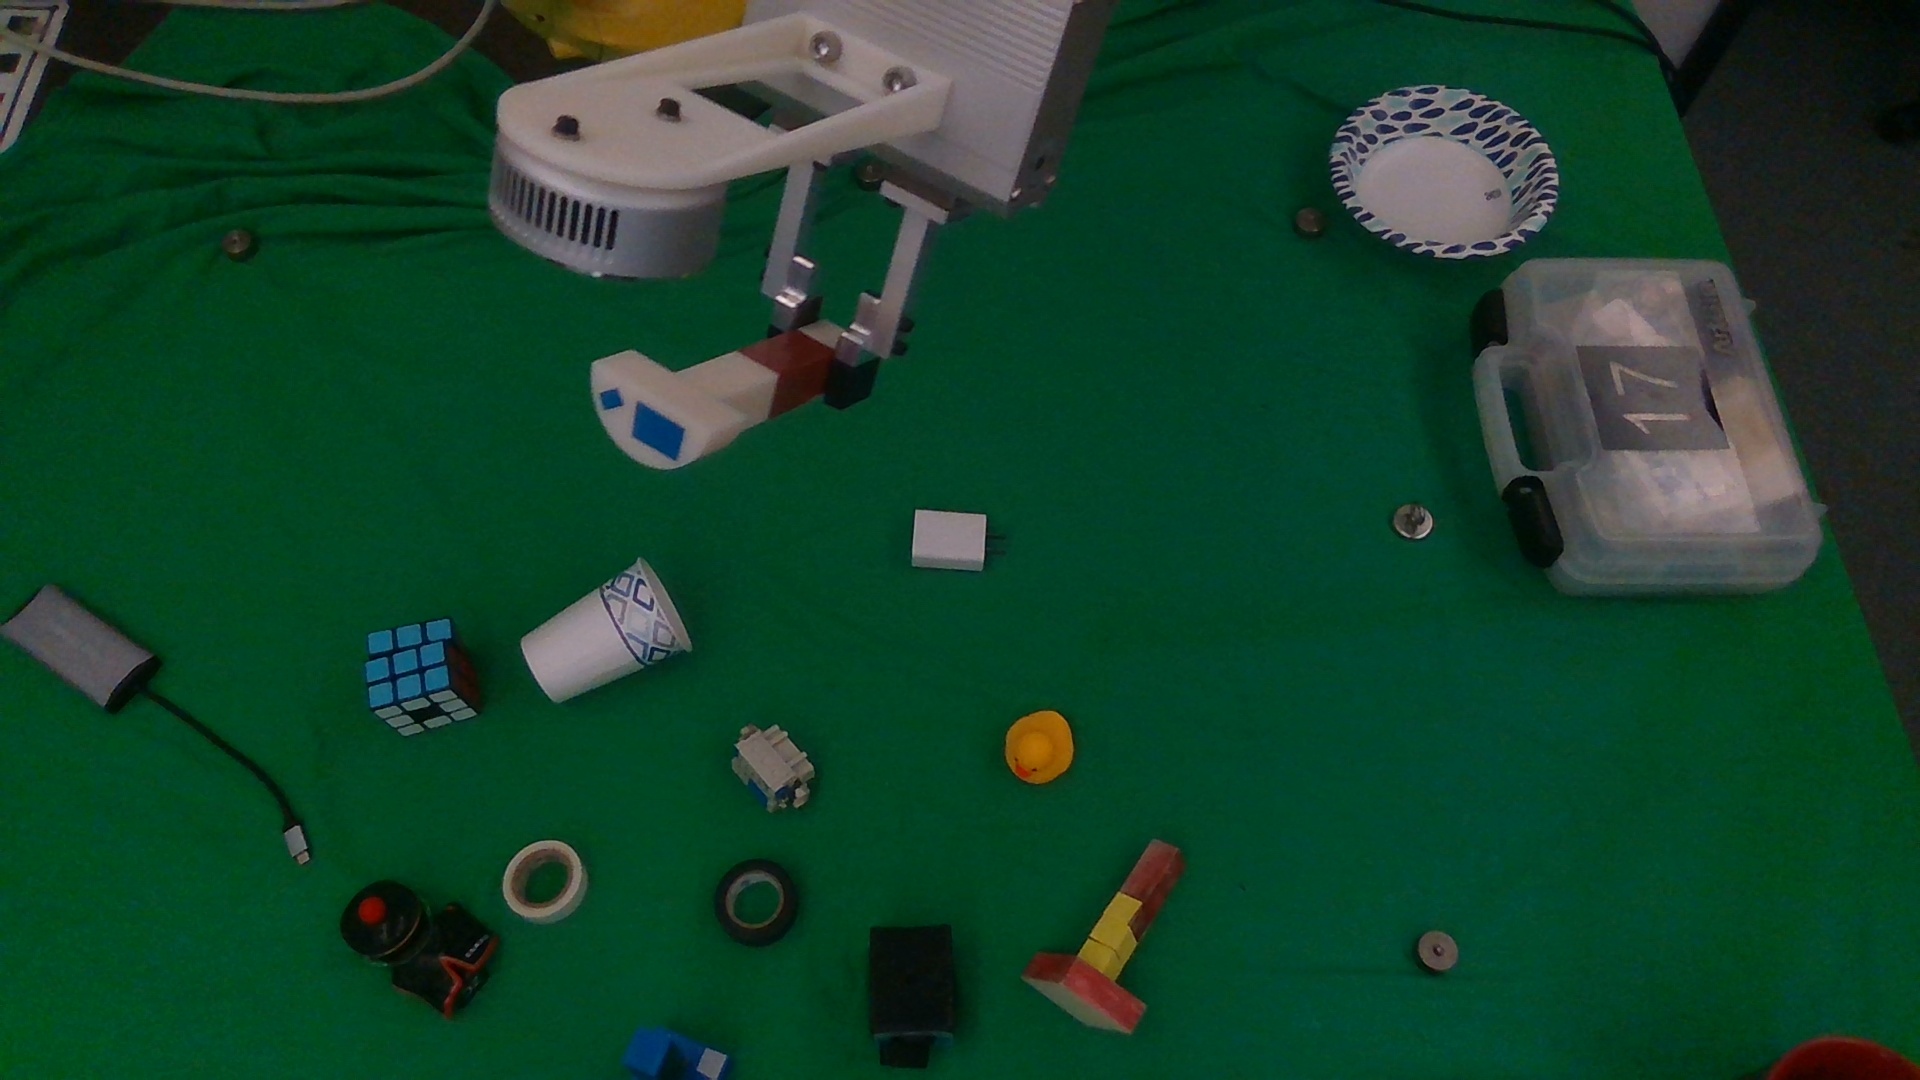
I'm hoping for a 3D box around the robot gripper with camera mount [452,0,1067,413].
[{"bbox_3d":[-0.078,-0.091,0.445,0.119,0.159,0.193,28,35,14],"label":"robot gripper with camera mount"}]

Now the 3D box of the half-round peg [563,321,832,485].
[{"bbox_3d":[-0.086,-0.054,0.503,0.054,0.031,0.121,30,32,16],"label":"half-round peg"}]
